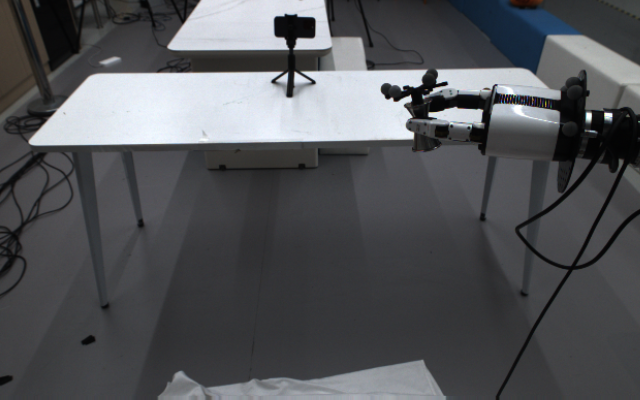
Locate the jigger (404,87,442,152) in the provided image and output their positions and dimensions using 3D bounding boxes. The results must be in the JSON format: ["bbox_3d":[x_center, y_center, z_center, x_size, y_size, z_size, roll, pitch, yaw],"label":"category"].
[{"bbox_3d":[0.147,-0.108,0.697,0.043,0.071,0.043,-14,21,6],"label":"jigger"}]
